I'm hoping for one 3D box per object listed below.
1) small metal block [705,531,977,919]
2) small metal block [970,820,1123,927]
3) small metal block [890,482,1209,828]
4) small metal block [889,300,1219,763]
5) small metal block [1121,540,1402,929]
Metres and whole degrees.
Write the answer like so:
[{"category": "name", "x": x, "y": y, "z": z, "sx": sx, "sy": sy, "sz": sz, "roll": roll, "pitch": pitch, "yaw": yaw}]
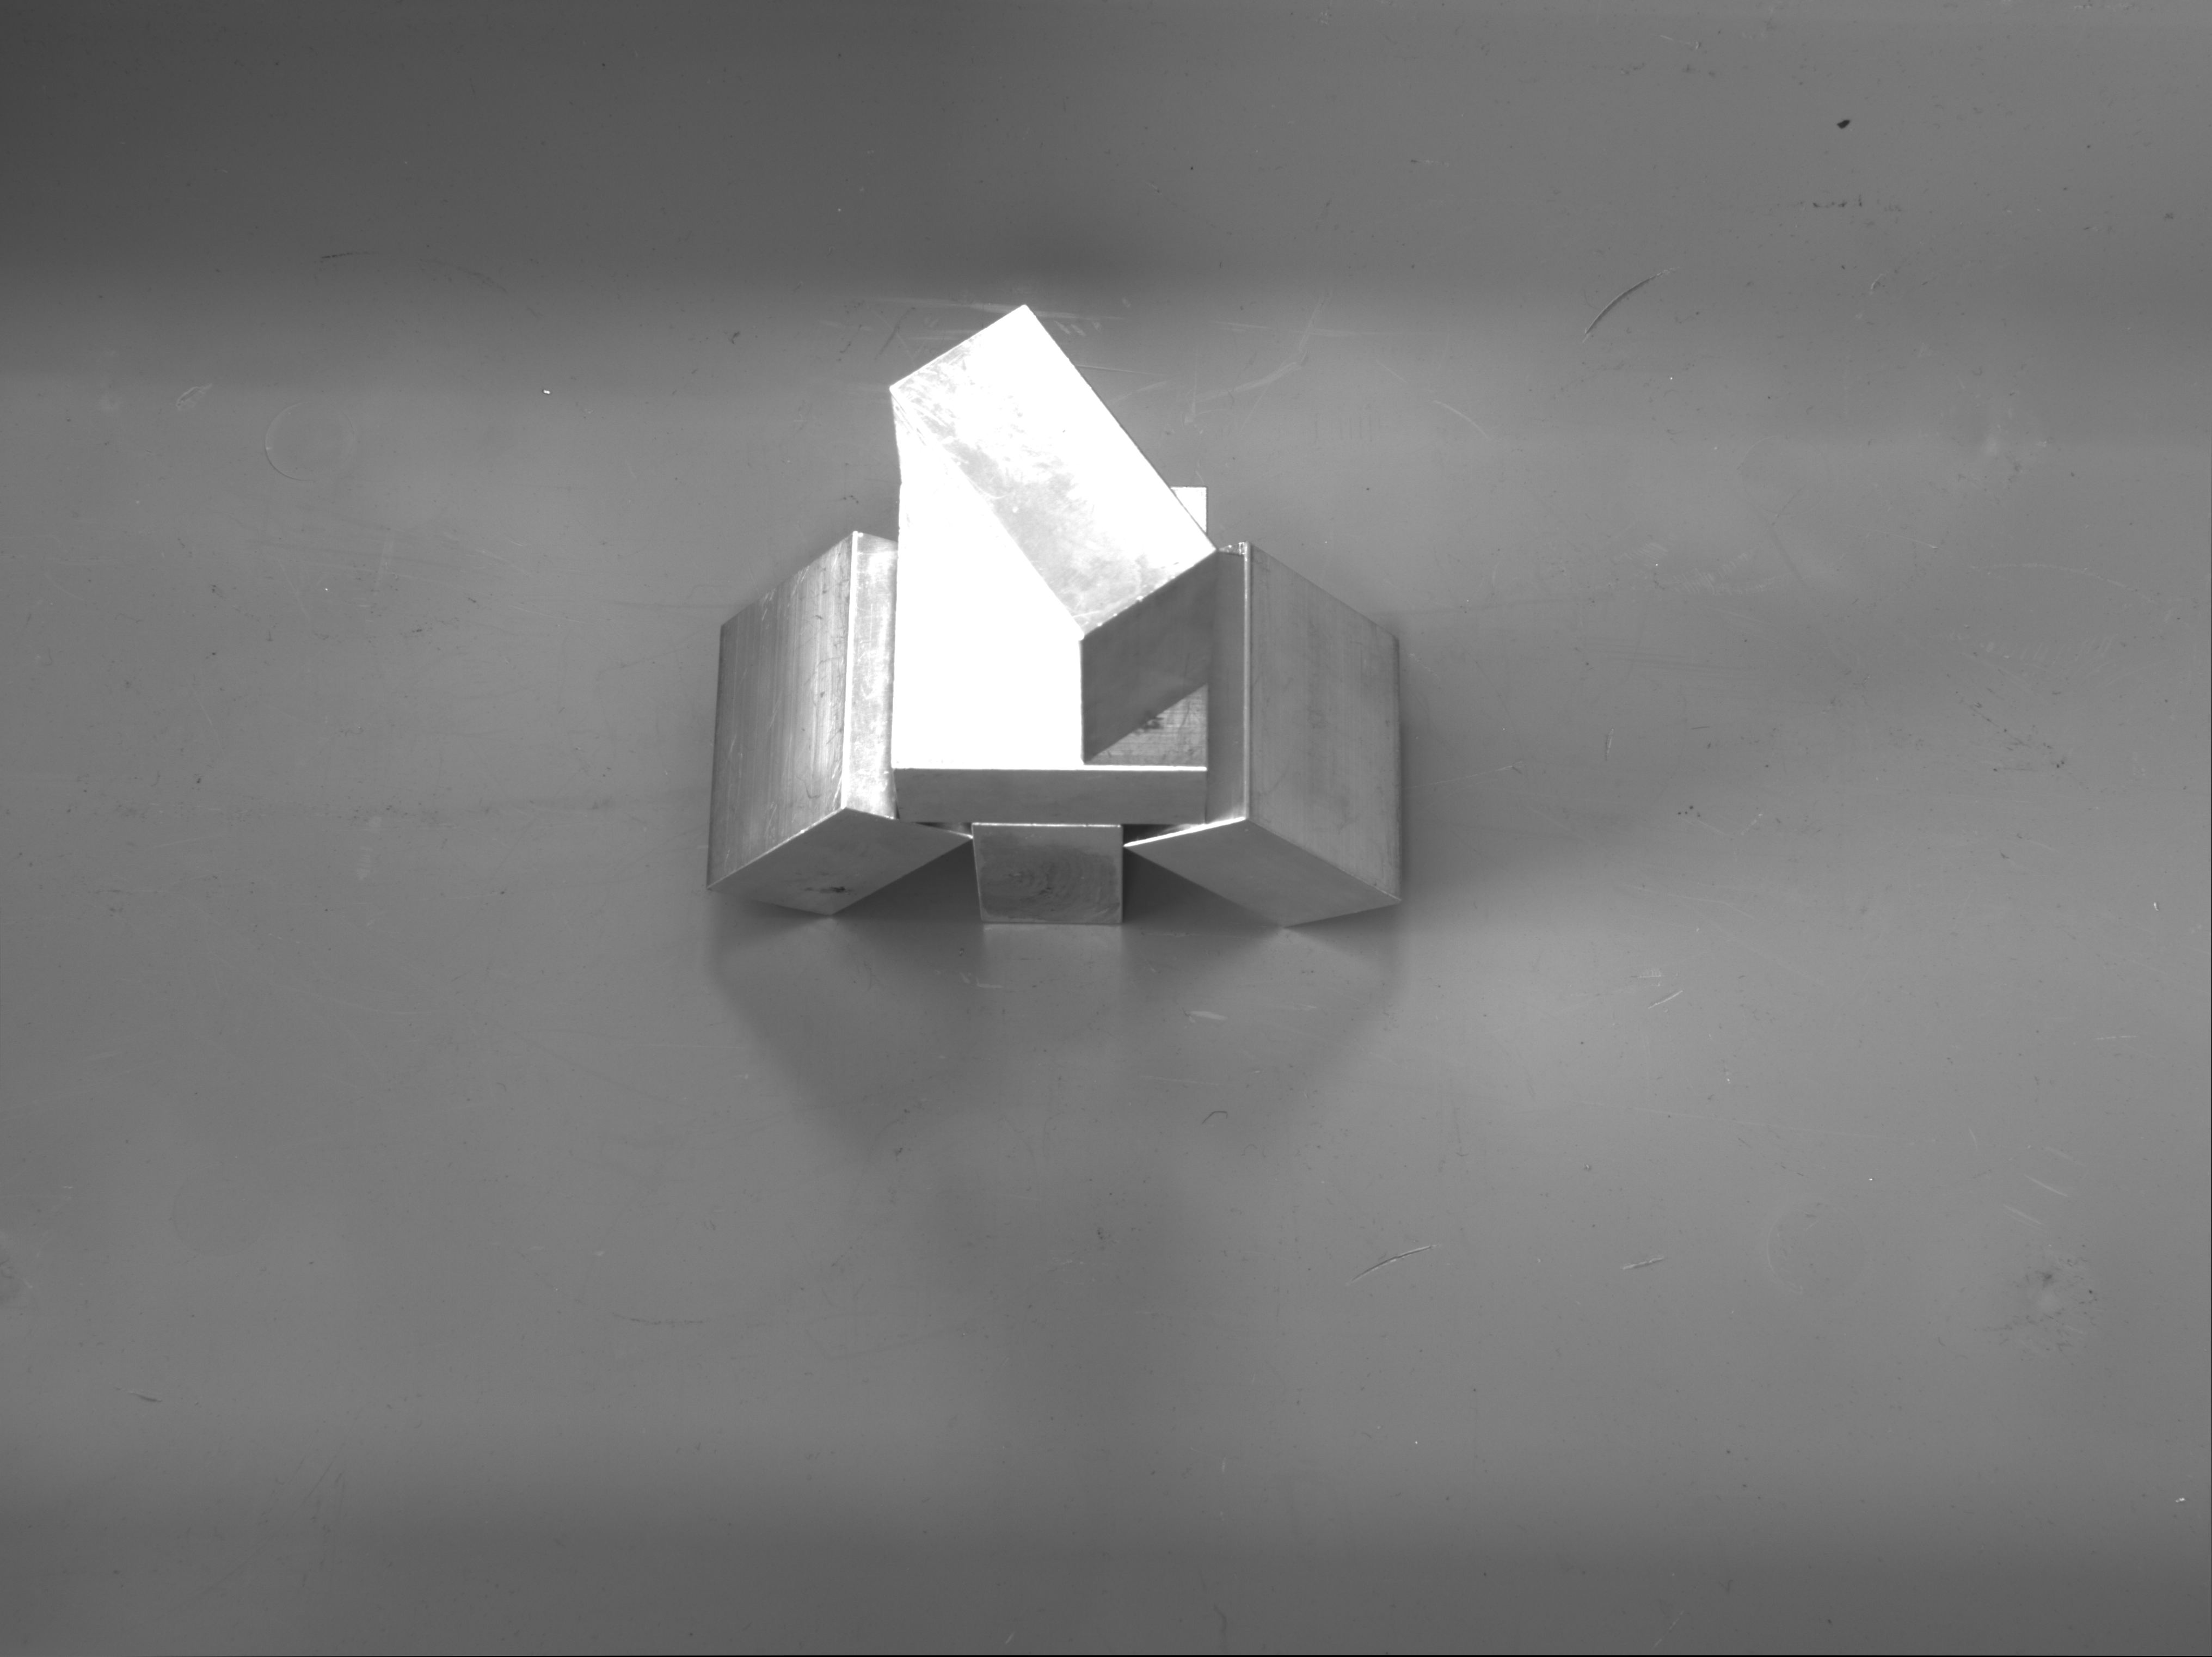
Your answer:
[{"category": "small metal block", "x": -0.045, "y": -0.017, "z": 0.633, "sx": 0.025, "sy": 0.050, "sz": 0.050, "roll": 13, "pitch": 66, "yaw": -31}, {"category": "small metal block", "x": -0.009, "y": -0.015, "z": 0.635, "sx": 0.025, "sy": 0.050, "sz": 0.050, "roll": 1, "pitch": 69, "yaw": 1}, {"category": "small metal block", "x": -0.009, "y": -0.028, "z": 0.600, "sx": 0.050, "sy": 0.025, "sz": 0.050, "roll": 1, "pitch": 69, "yaw": 0}, {"category": "small metal block", "x": -0.008, "y": -0.045, "z": 0.566, "sx": 0.025, "sy": 0.050, "sz": 0.050, "roll": -33, "pitch": 73, "yaw": -11}, {"category": "small metal block", "x": 0.027, "y": -0.015, "z": 0.633, "sx": 0.025, "sy": 0.050, "sz": 0.050, "roll": -13, "pitch": 66, "yaw": 32}]
